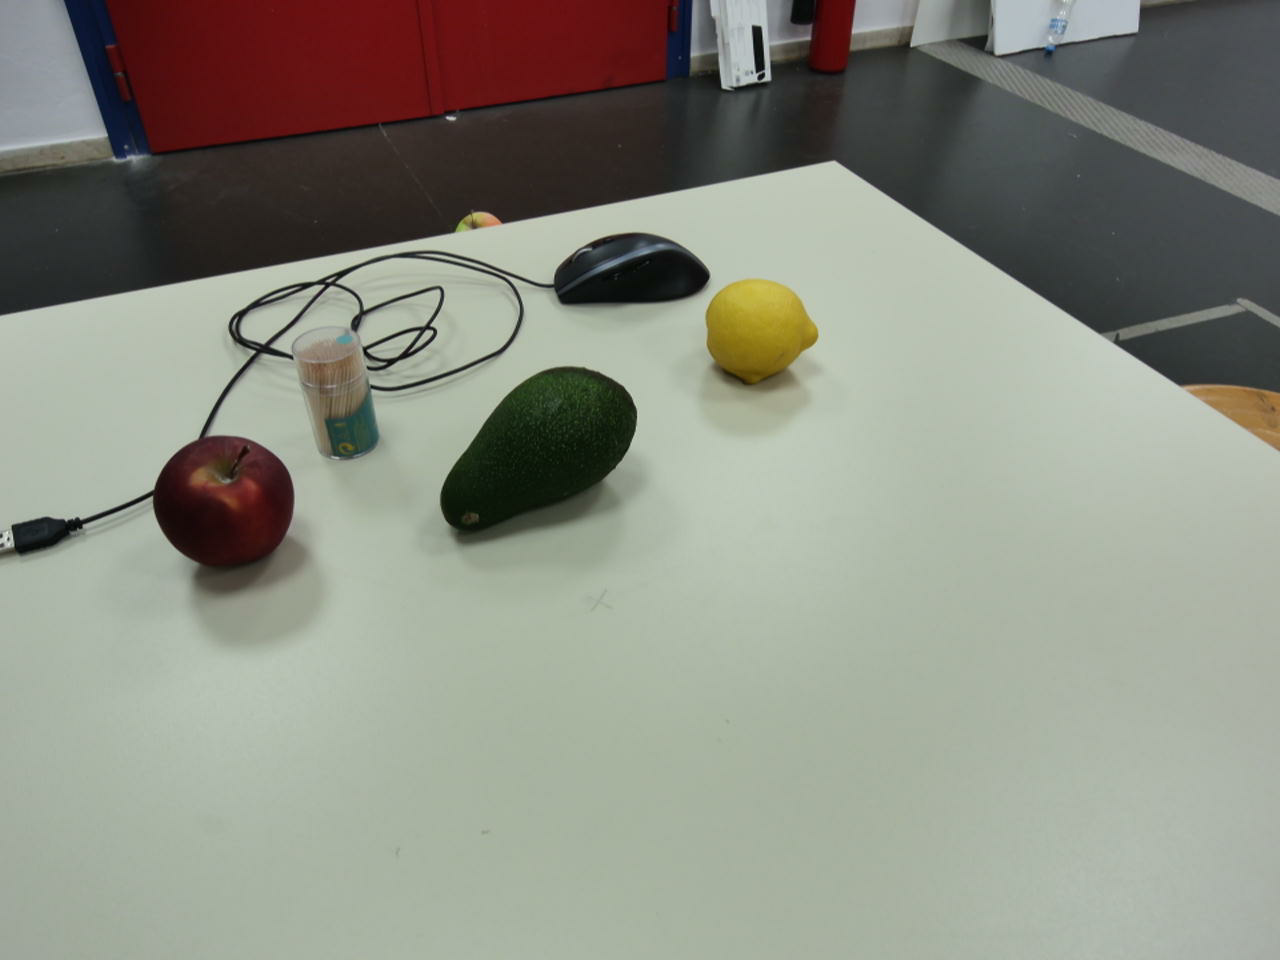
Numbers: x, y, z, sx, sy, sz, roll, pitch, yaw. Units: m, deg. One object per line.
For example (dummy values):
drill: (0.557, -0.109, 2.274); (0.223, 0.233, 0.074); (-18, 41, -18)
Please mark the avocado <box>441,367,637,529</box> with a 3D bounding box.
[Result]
avocado: (-0.061, -0.024, 0.580); (0.123, 0.076, 0.074); (-11, 40, -15)
